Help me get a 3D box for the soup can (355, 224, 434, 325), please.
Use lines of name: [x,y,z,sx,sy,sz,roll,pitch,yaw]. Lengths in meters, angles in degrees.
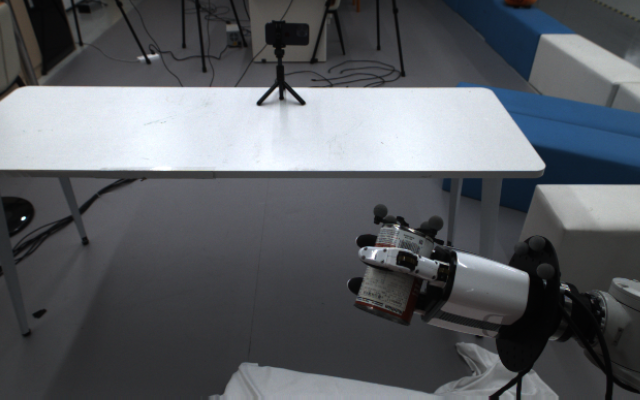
soup can: [0.089,0.086,0.566,0.067,0.067,0.101,15,75,18]
